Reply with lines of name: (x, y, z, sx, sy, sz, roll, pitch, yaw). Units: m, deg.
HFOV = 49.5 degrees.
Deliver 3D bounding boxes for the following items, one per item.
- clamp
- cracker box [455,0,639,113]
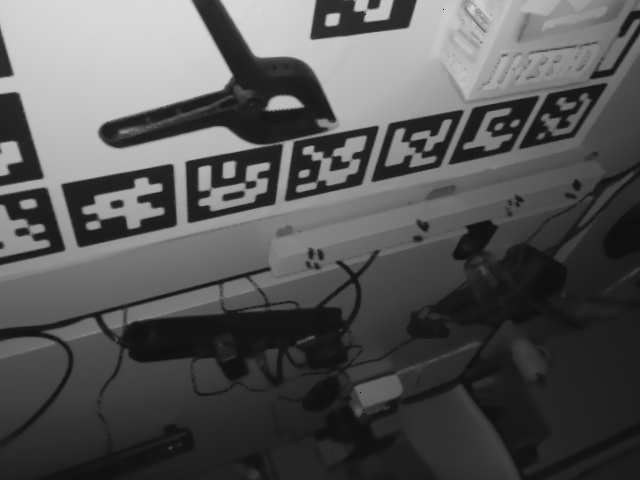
clamp: (-0.044, -0.126, 0.647, 0.206, 0.037, 0.163, 9, 137, -44)
cracker box: (0.243, -0.225, 0.652, 0.166, 0.072, 0.211, -13, 148, -22)
